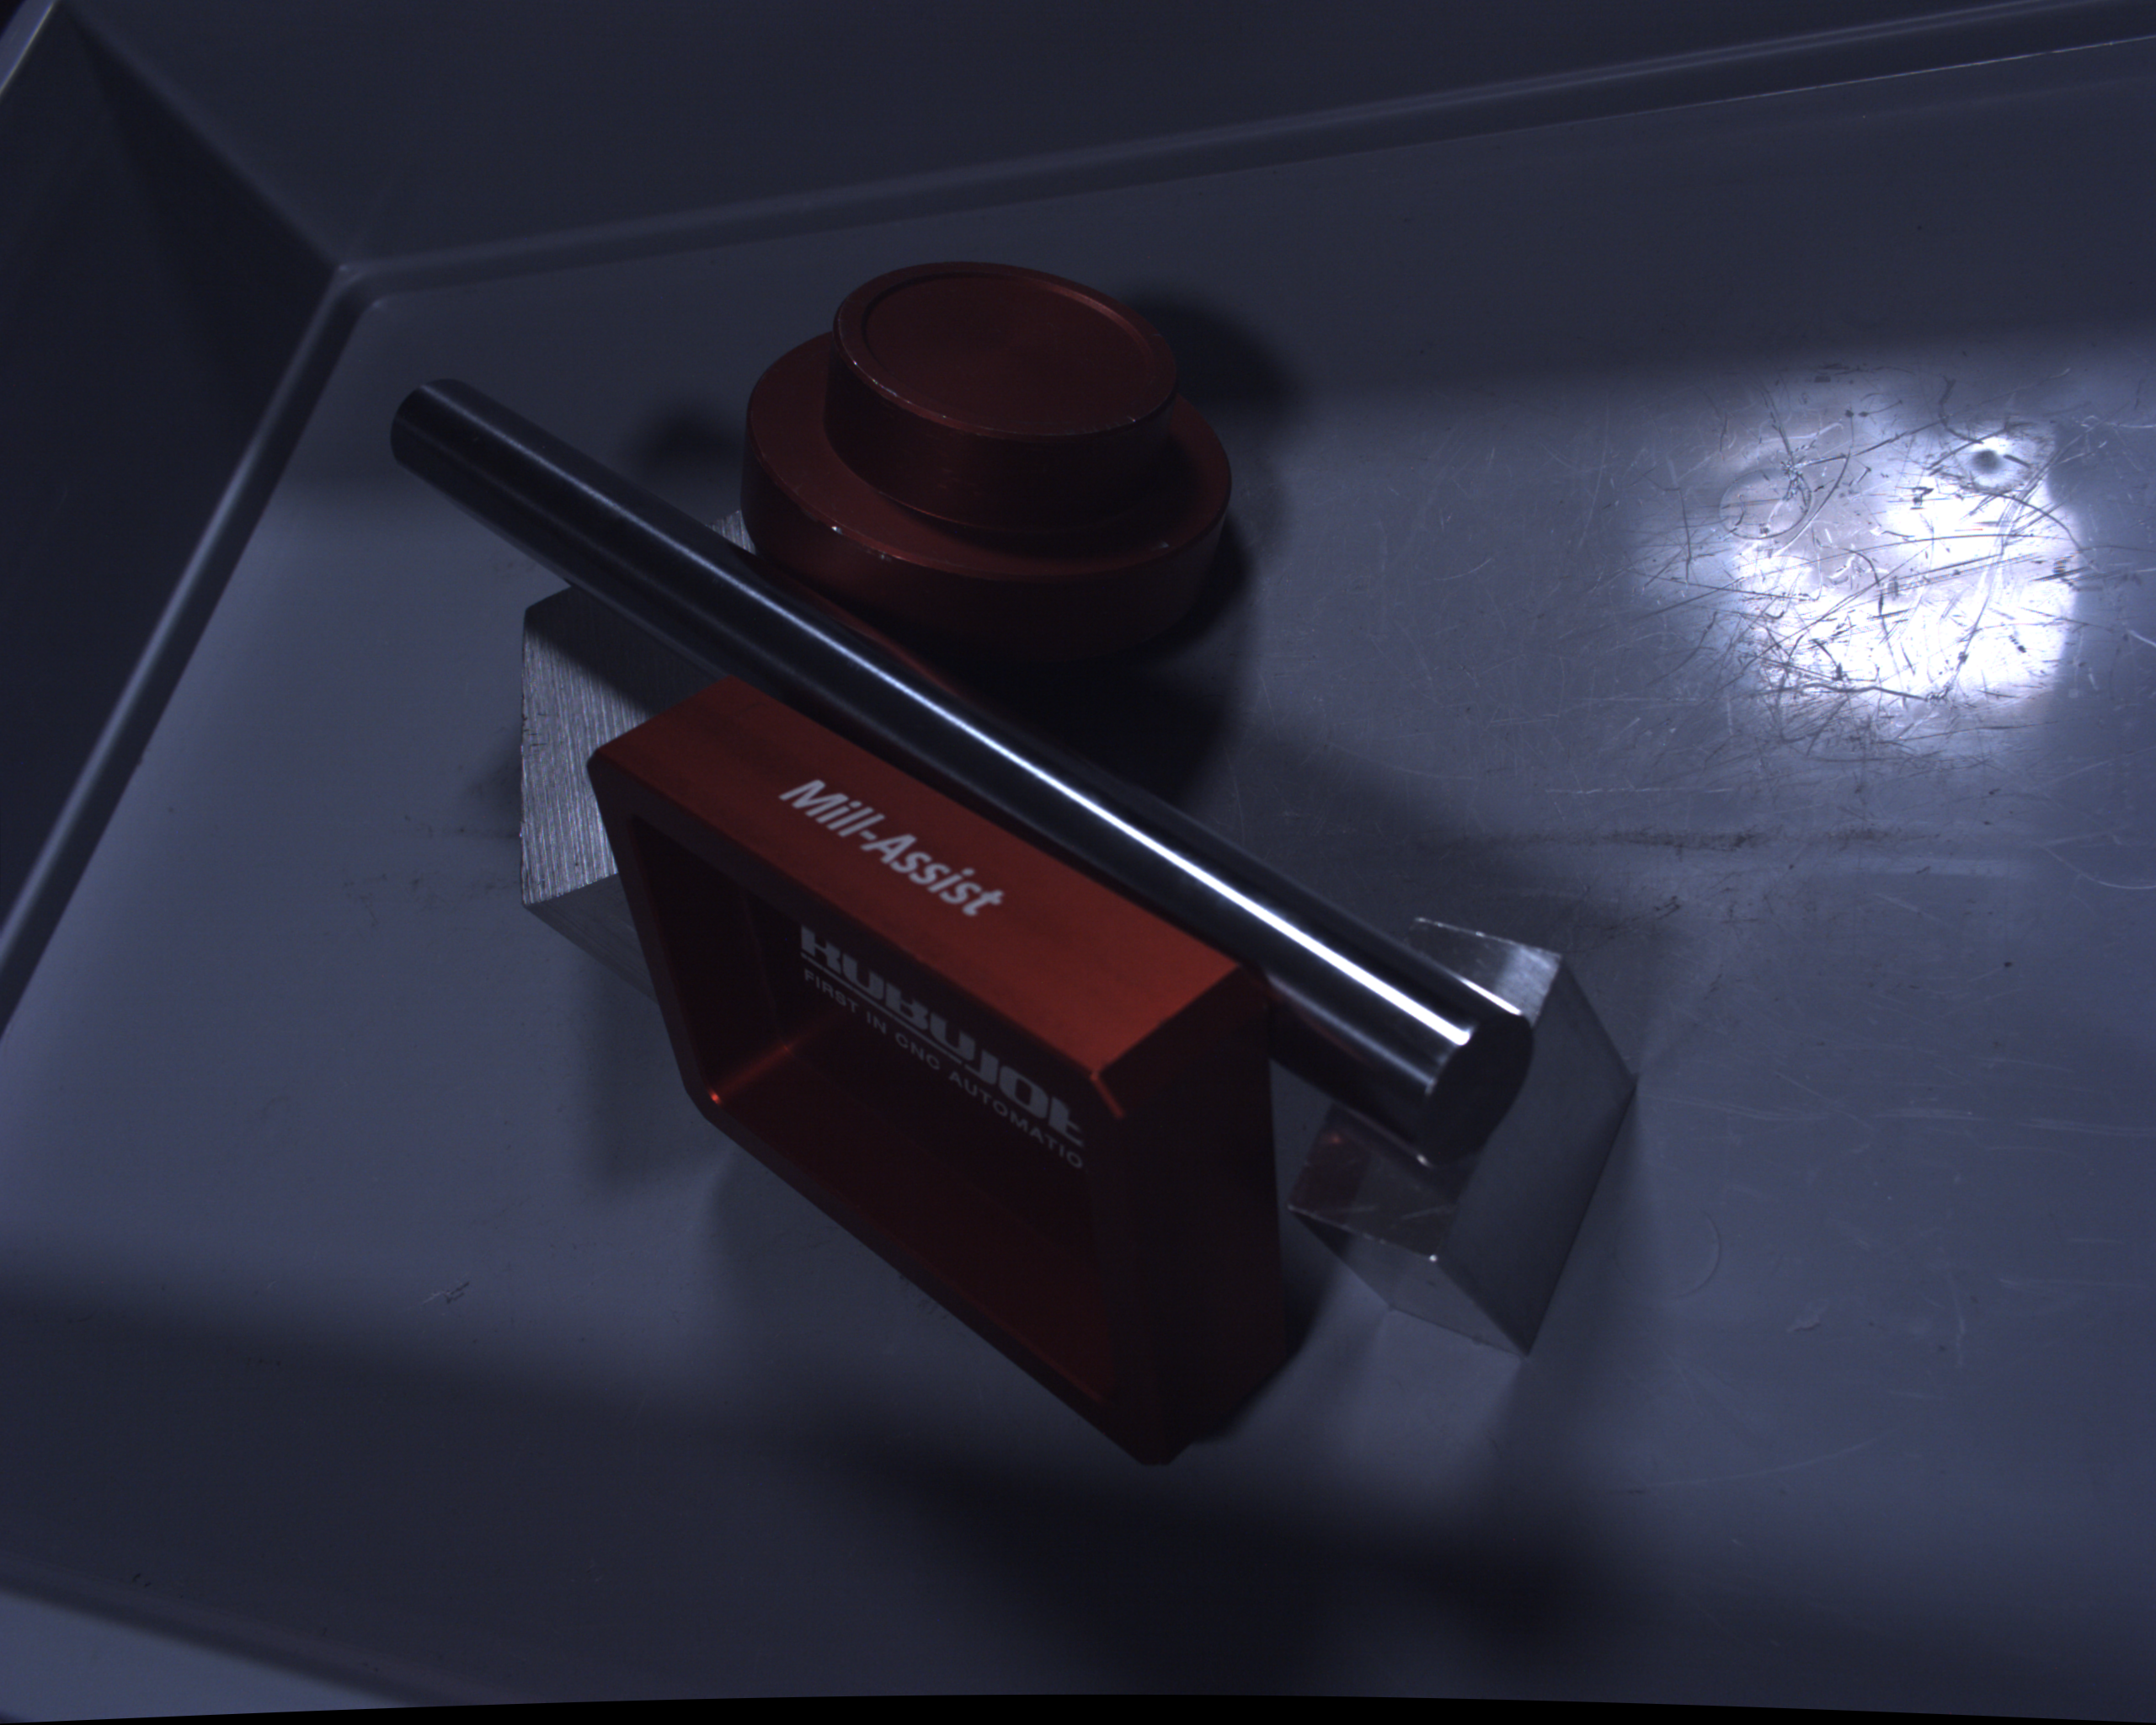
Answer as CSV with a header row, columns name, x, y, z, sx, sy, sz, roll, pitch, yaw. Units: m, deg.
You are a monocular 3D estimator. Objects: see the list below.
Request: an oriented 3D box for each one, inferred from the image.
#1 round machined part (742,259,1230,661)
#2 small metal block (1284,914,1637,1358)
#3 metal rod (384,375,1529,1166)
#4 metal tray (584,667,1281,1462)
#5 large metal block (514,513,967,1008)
name,x,y,z,sx,sy,sz,roll,pitch,yaw
round machined part,-0.017,-0.087,0.420,0.099,0.042,0.098,8,42,-7
small metal block,0.062,0.044,0.328,0.025,0.050,0.050,15,70,34
metal rod,-0.045,-0.033,0.381,0.300,0.025,0.025,33,80,38
metal tray,-0.026,0.031,0.351,0.030,0.089,0.130,-34,46,-30
large metal block,-0.068,-0.025,0.437,0.080,0.050,0.080,-20,54,16
